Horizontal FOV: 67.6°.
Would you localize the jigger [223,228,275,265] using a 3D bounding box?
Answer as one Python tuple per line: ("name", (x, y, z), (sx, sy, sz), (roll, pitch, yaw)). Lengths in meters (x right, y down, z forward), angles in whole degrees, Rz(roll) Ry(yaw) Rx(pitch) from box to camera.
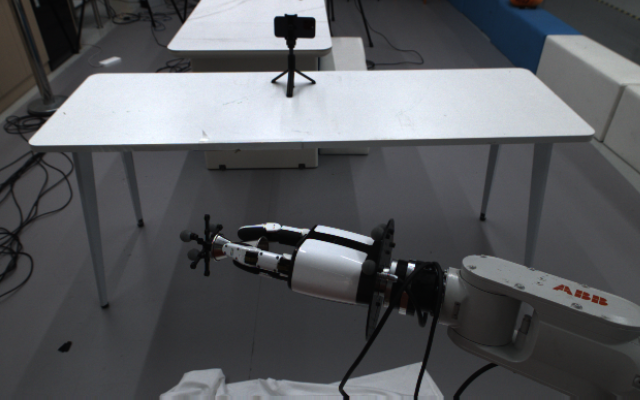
("jigger", (-0.102, 0.064, 0.667), (0.071, 0.043, 0.043), (4, 34, 16))
